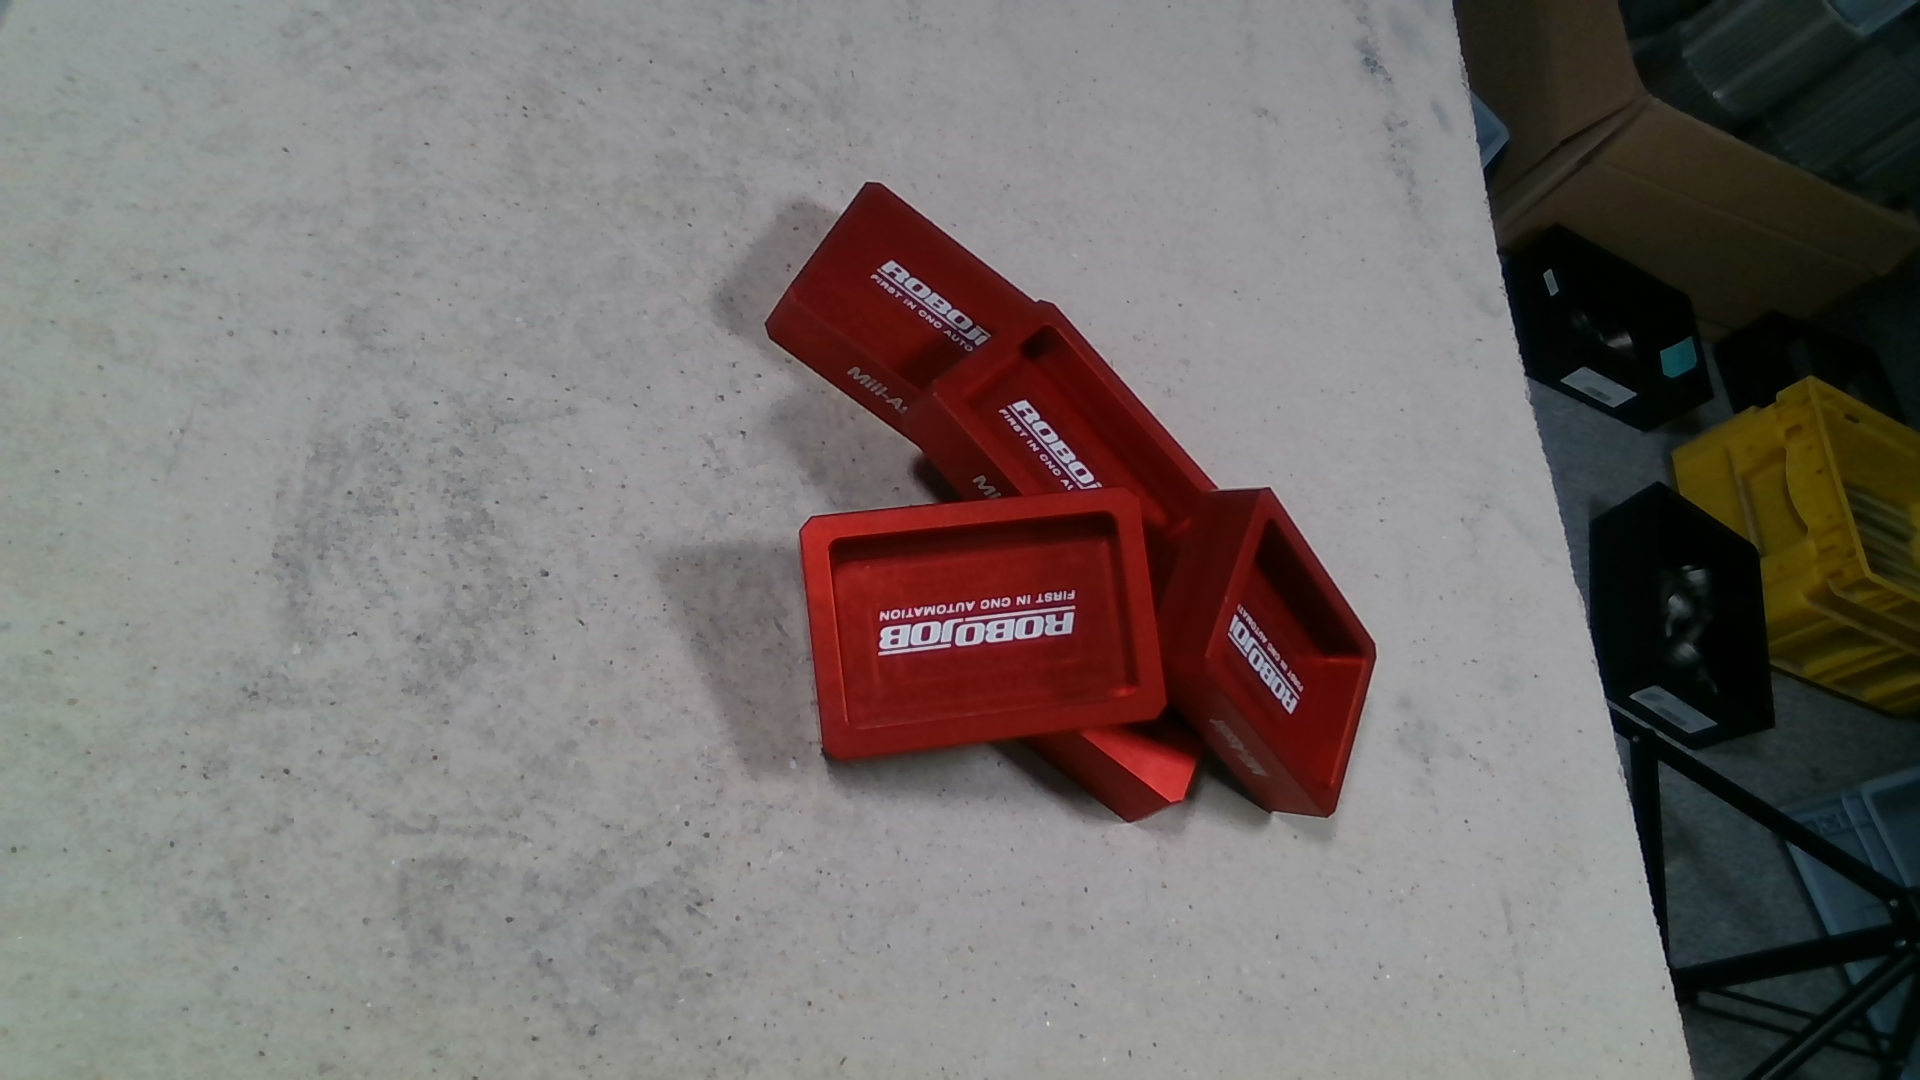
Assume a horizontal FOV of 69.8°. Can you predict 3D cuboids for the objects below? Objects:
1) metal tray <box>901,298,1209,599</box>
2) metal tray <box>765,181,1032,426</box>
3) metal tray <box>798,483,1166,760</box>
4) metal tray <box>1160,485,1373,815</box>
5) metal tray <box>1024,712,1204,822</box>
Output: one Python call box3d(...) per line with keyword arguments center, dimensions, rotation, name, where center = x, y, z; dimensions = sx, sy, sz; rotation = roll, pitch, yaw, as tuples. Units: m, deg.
box3d(center=(0.048, -0.031, 0.591), dimensions=(0.130, 0.030, 0.090), rotation=(49, 51, 0), name="metal tray")
box3d(center=(-0.012, -0.092, 0.625), dimensions=(0.130, 0.030, 0.090), rotation=(35, 52, -11), name="metal tray")
box3d(center=(0.007, 0.031, 0.527), dimensions=(0.130, 0.030, 0.090), rotation=(-6, 84, -9), name="metal tray")
box3d(center=(0.132, 0.049, 0.594), dimensions=(0.130, 0.030, 0.090), rotation=(47, 56, -38), name="metal tray")
box3d(center=(0.073, 0.045, 0.604), dimensions=(0.090, 0.030, 0.130), rotation=(37, 52, -9), name="metal tray")
